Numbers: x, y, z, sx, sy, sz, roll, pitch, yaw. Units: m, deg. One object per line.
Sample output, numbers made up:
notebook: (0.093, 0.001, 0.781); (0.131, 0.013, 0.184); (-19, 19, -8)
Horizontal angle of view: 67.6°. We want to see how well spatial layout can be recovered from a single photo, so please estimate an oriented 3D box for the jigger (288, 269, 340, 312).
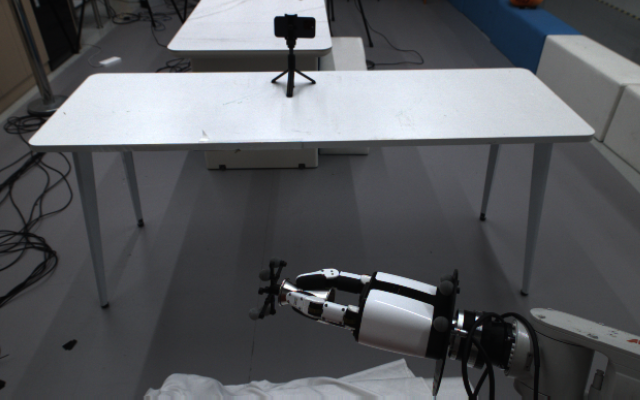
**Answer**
jigger: (-0.012, 0.128, 0.656); (0.071, 0.043, 0.043); (10, 35, 16)
